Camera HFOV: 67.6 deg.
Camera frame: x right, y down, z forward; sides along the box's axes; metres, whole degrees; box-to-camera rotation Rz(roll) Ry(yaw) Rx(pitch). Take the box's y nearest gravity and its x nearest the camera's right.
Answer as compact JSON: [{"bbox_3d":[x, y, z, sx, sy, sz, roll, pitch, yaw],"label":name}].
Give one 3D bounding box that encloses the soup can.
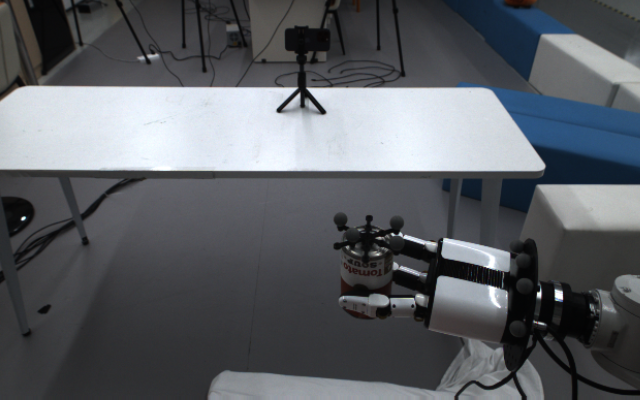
[{"bbox_3d":[0.062,0.090,0.615,0.067,0.101,0.067,-2,34,1],"label":"soup can"}]
